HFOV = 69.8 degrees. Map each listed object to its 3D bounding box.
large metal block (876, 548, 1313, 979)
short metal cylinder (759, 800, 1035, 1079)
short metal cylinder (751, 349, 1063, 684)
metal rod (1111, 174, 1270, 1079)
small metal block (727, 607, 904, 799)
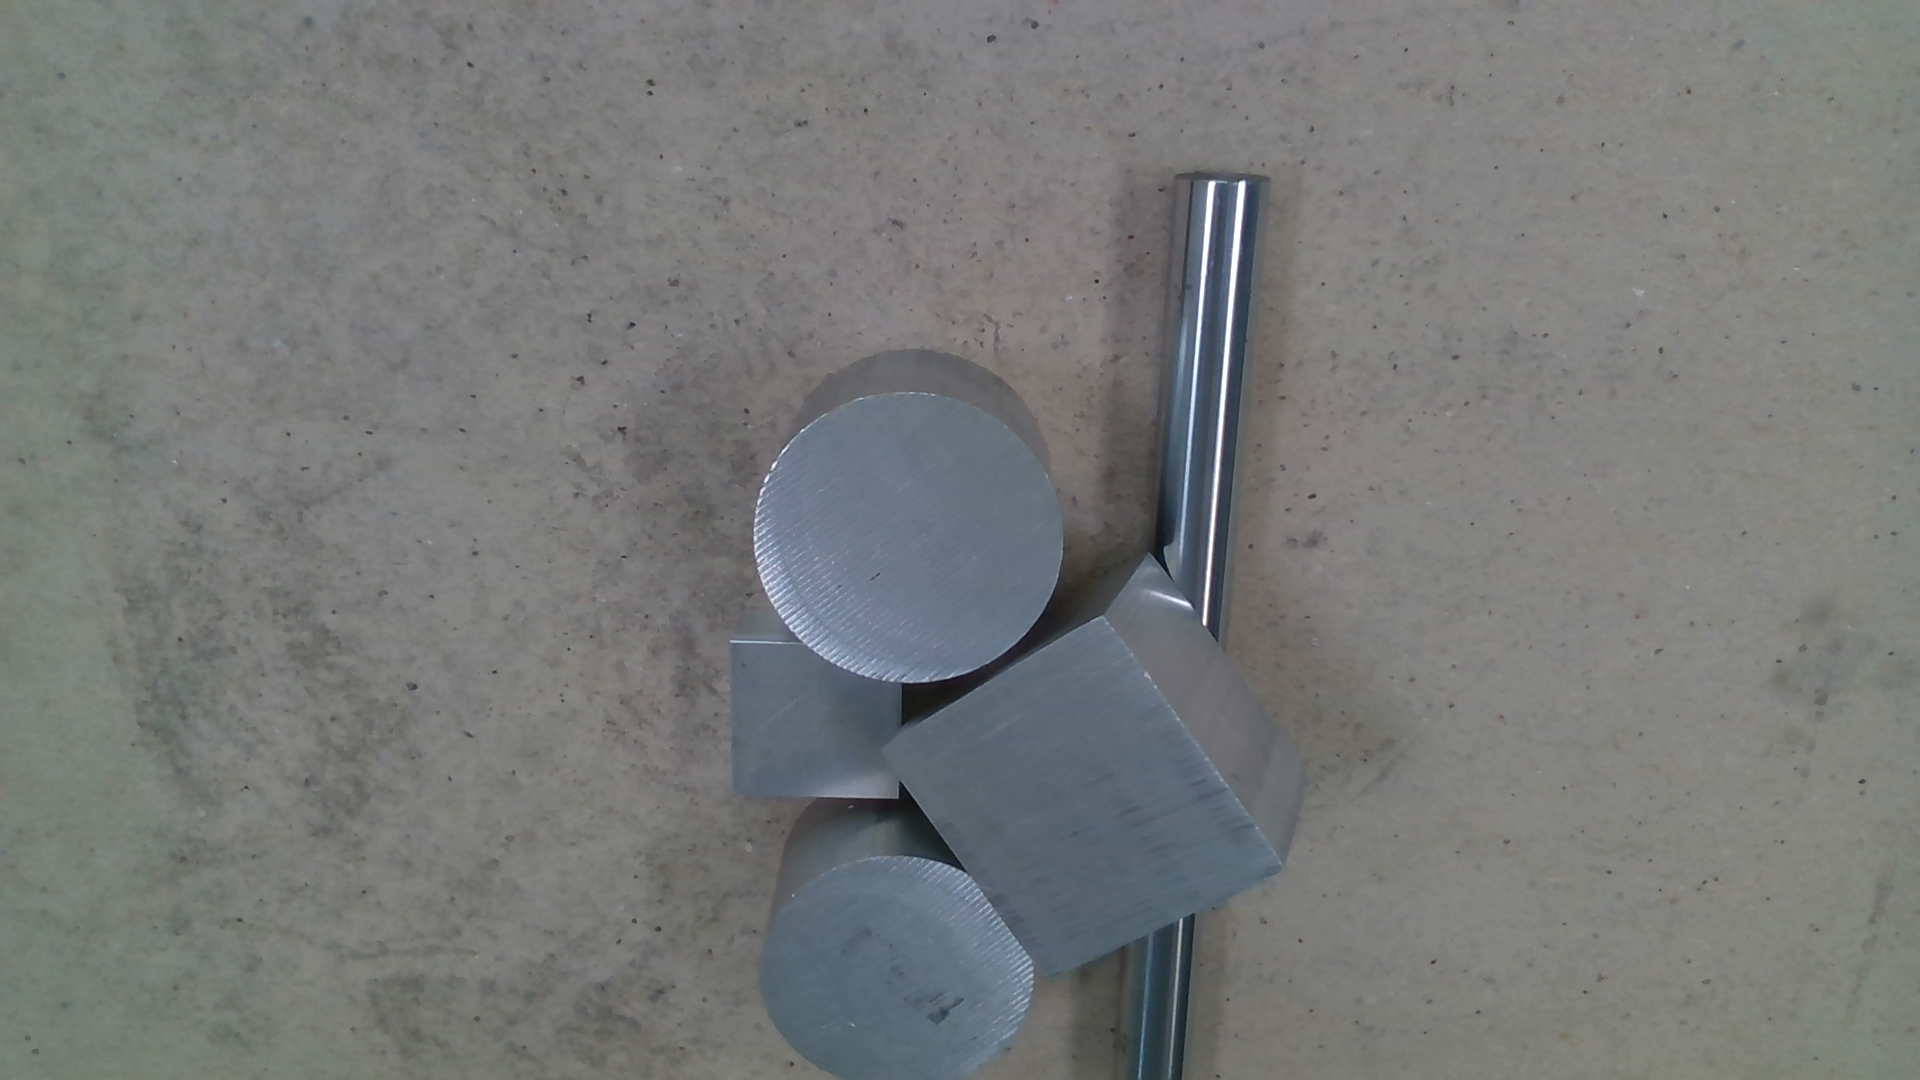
[{"bbox_3d":[0.038,0.062,0.385,0.080,0.050,0.080,-34,93,28],"label":"large metal block"},{"bbox_3d":[-0.018,0.118,0.423,0.080,0.050,0.080,0,110,0],"label":"short metal cylinder"},{"bbox_3d":[-0.014,-0.008,0.377,0.080,0.050,0.080,0,110,0],"label":"short metal cylinder"},{"bbox_3d":[0.066,0.047,0.410,0.025,0.025,0.301,1,110,0],"label":"metal rod"},{"bbox_3d":[-0.042,0.049,0.412,0.050,0.025,0.050,2,110,-1],"label":"small metal block"}]
